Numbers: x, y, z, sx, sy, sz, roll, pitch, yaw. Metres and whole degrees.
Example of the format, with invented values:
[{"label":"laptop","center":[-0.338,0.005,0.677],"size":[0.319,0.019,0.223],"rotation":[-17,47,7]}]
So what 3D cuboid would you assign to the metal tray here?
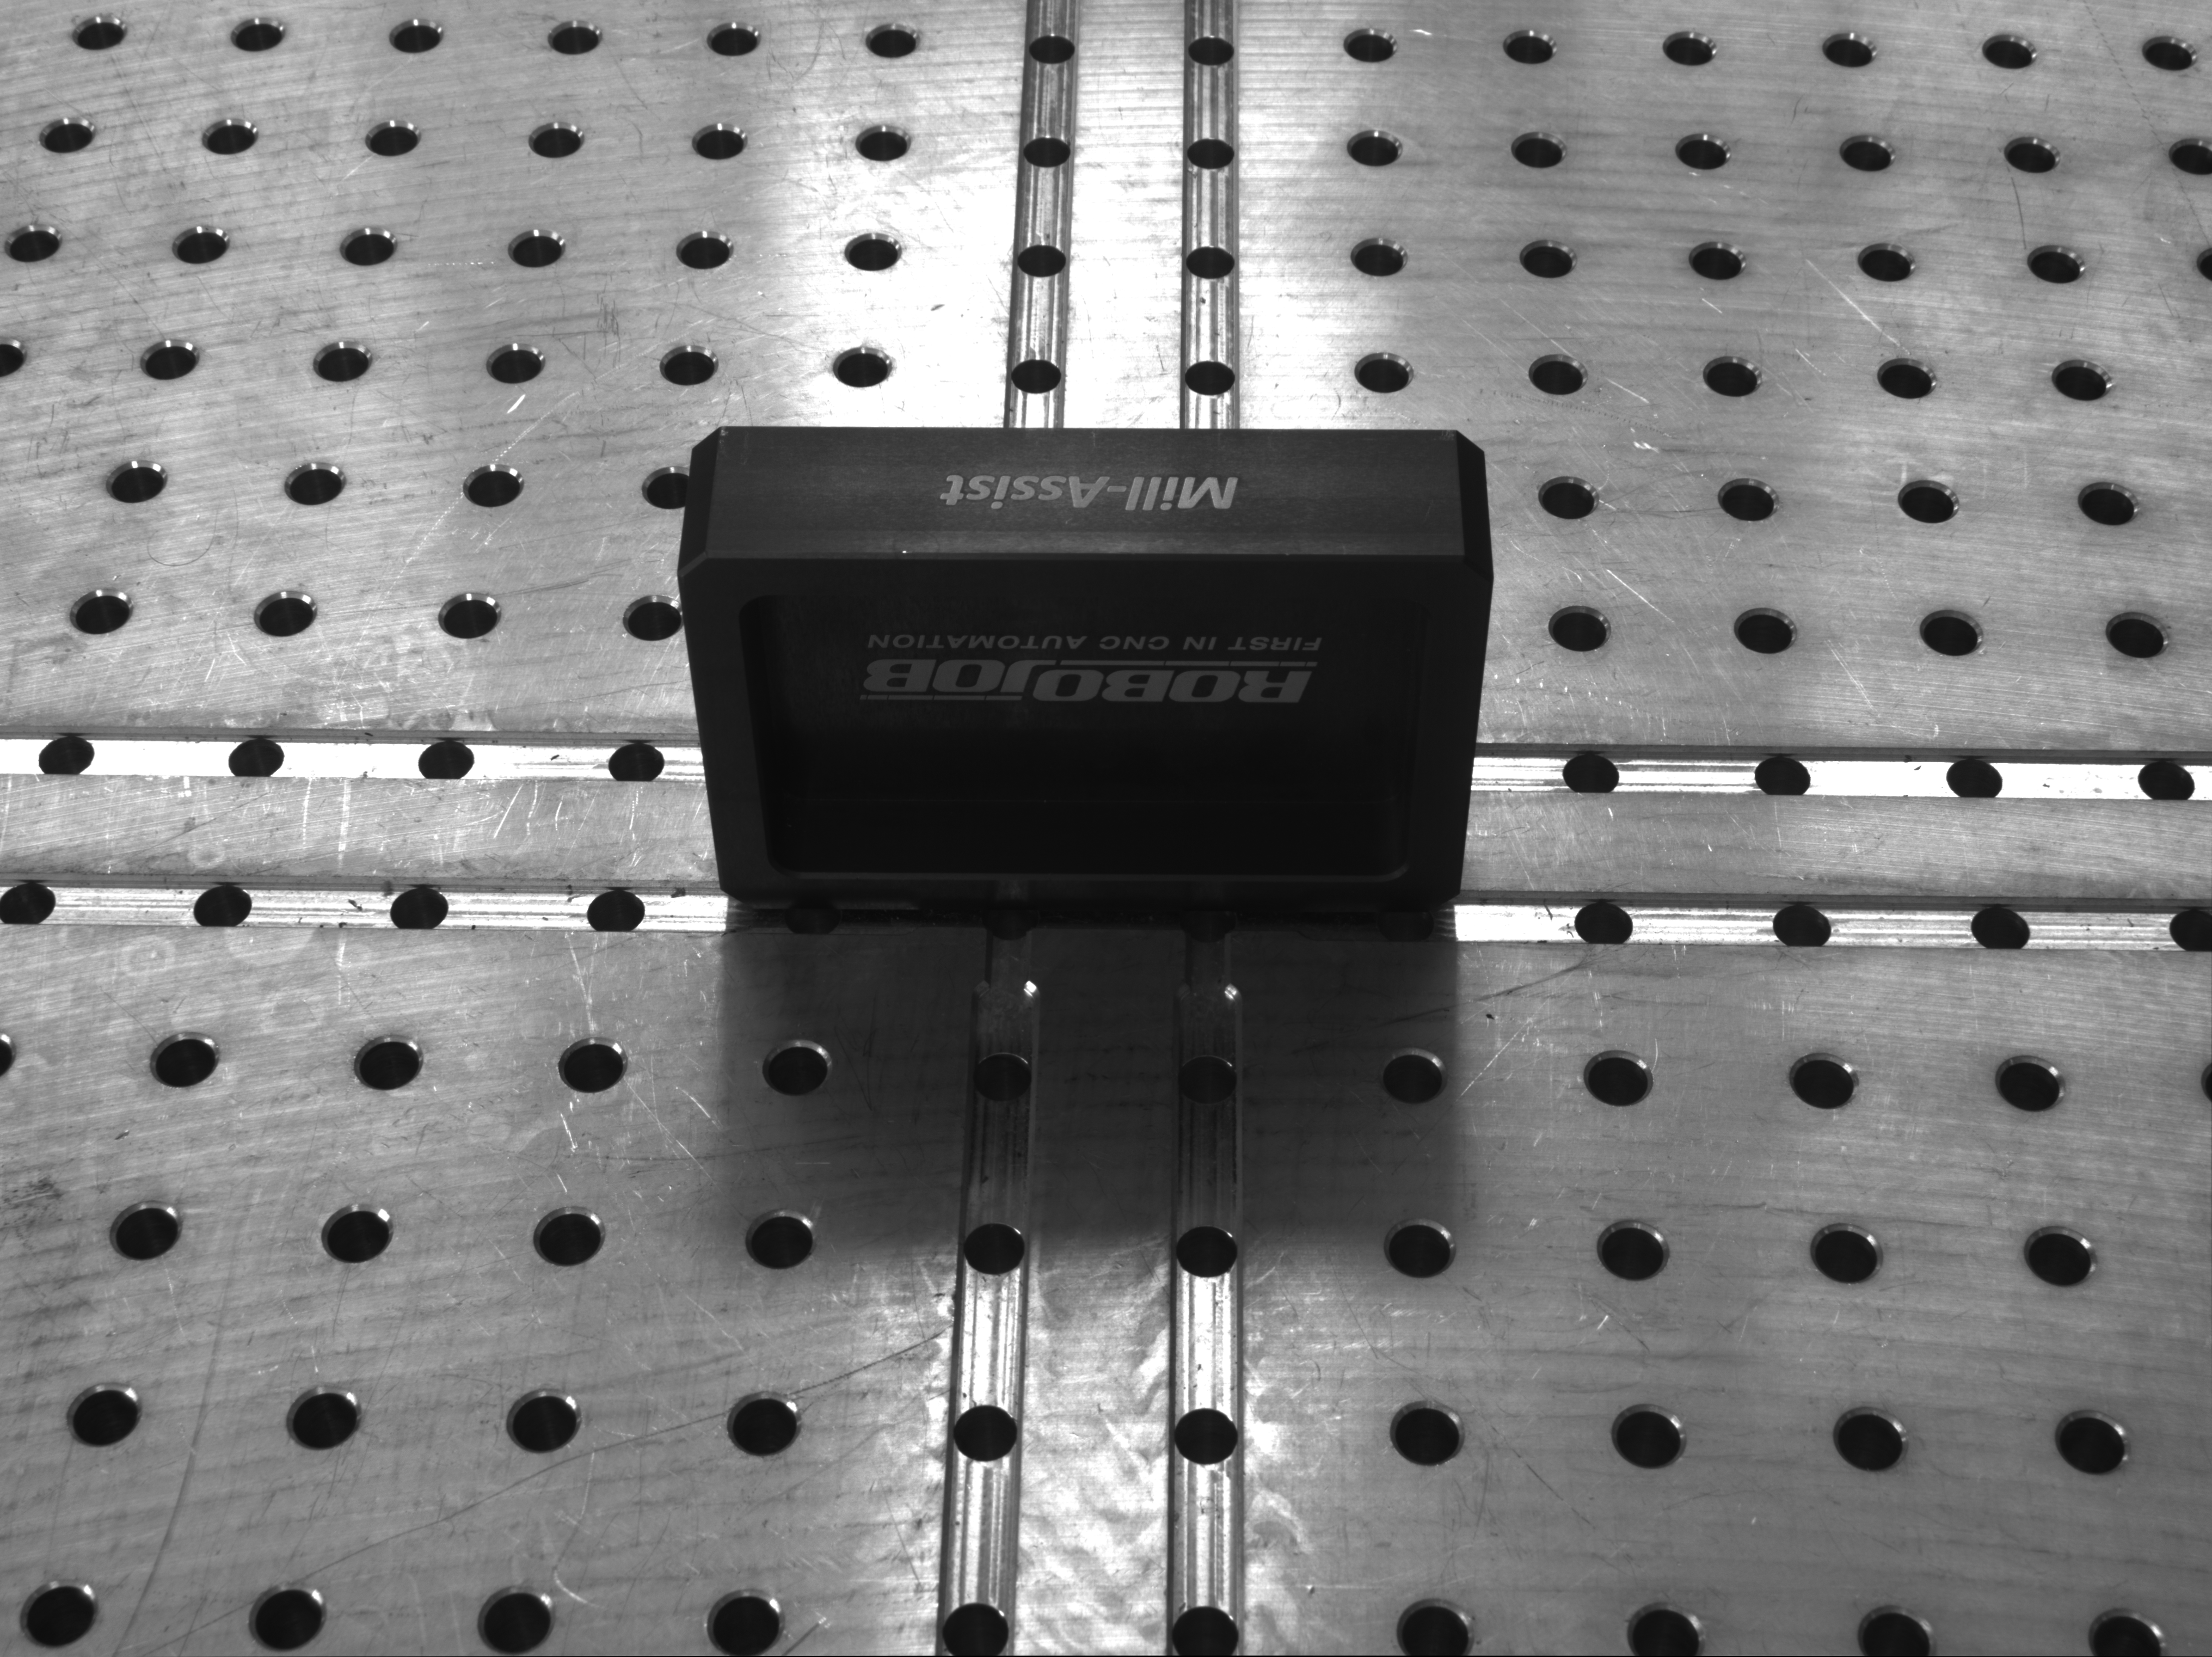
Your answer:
[{"label":"metal tray","center":[-0.003,-0.025,0.624],"size":[0.130,0.090,0.030],"rotation":[0,50,0]}]
